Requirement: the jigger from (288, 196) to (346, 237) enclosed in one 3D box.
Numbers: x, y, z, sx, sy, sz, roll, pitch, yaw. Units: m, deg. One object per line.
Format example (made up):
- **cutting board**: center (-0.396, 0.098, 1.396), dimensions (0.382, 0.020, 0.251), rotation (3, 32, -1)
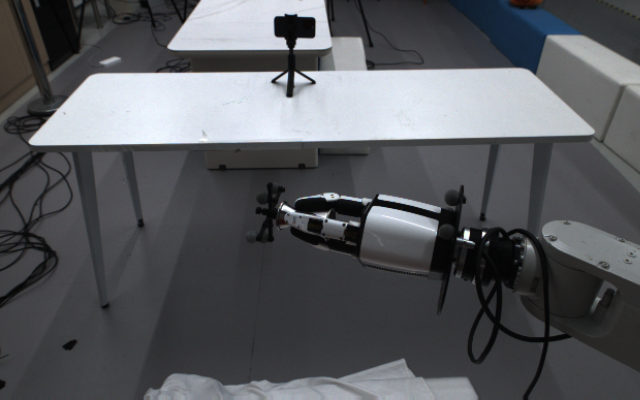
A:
- **jigger**: center (-0.012, 0.023, 0.631), dimensions (0.071, 0.043, 0.043), rotation (10, 35, 16)
